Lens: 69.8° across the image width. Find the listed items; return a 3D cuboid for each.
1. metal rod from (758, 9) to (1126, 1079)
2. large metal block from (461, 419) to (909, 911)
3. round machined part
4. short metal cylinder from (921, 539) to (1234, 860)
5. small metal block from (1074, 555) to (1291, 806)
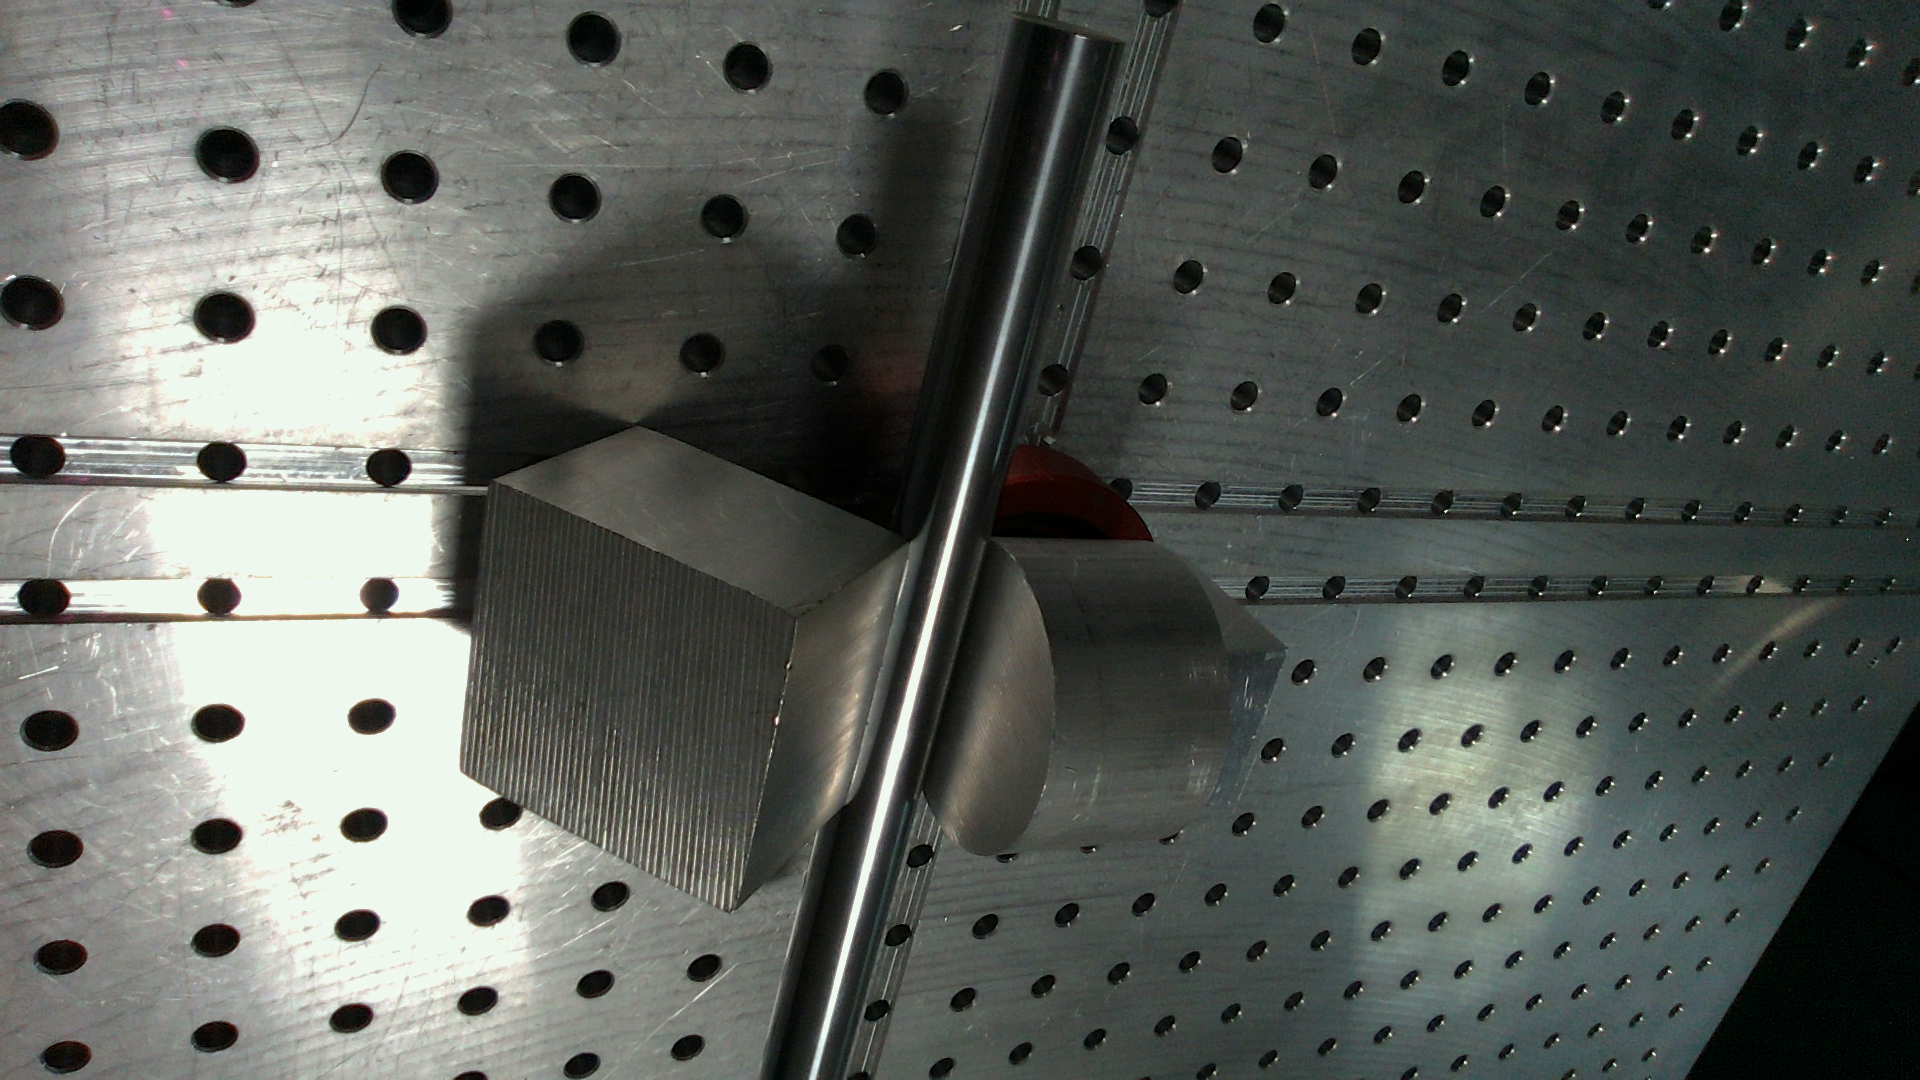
[{"bbox_3d":[-0.013,0.025,0.347,0.025,0.025,0.300,1,118,-29],"label":"metal rod"},{"bbox_3d":[-0.067,0.027,0.330,0.050,0.080,0.080,-38,147,-60],"label":"large metal block"},{"bbox_3d":[0.006,0.017,0.393,0.098,0.042,0.098,-14,124,-21],"label":"round machined part"},{"bbox_3d":[0.025,0.039,0.356,0.050,0.080,0.080,1,118,-29],"label":"short metal cylinder"},{"bbox_3d":[0.057,0.038,0.376,0.025,0.050,0.050,1,118,-29],"label":"small metal block"}]
